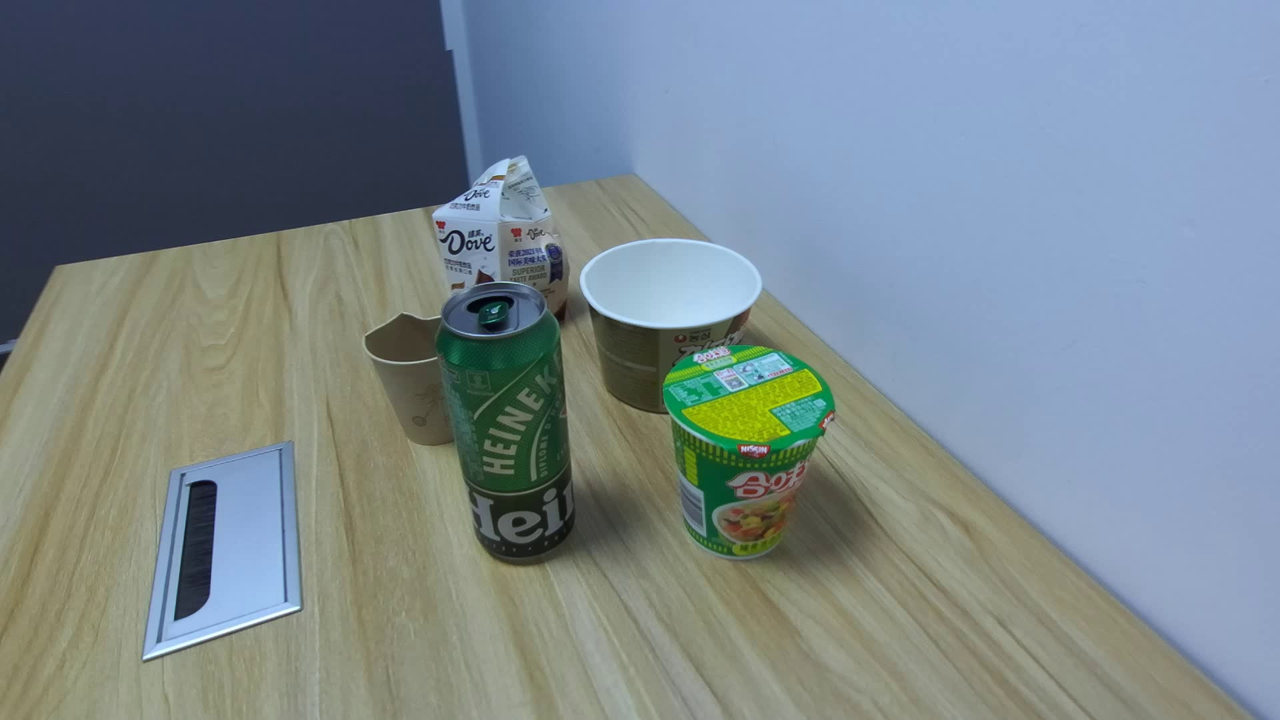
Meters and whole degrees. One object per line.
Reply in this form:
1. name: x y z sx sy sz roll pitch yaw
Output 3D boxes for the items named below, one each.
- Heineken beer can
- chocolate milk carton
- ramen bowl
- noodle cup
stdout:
1. Heineken beer can: -0.075 0.042 0.418 0.067 0.169 0.067 -1 36 1
2. chocolate milk carton: -0.123 -0.098 0.632 0.089 0.156 0.077 12 31 39
3. ramen bowl: 0.025 -0.026 0.568 0.140 0.095 0.140 0 37 0
4. noodle cup: 0.062 0.062 0.435 0.097 0.110 0.097 1 37 0
